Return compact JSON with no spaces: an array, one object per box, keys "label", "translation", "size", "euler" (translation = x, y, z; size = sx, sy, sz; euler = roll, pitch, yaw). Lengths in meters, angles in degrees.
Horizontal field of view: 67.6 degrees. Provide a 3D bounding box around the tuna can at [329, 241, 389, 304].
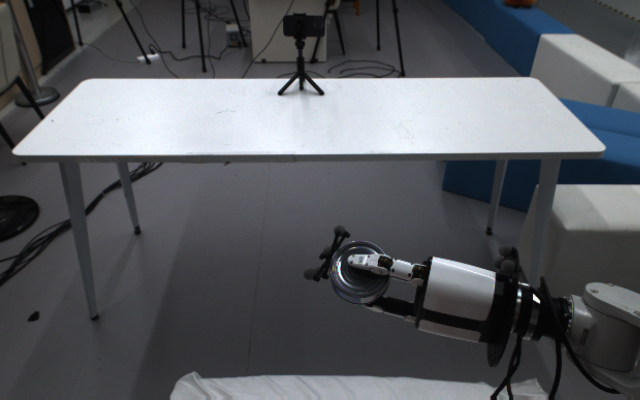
[{"label":"tuna can","translation":[0.059,0.100,0.680],"size":[0.085,0.034,0.085],"euler":[-1,61,1]}]
